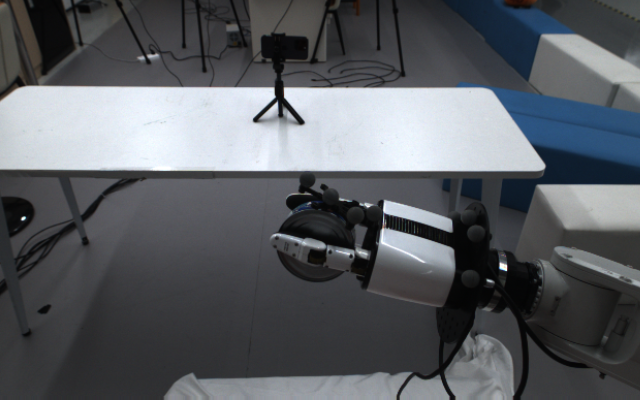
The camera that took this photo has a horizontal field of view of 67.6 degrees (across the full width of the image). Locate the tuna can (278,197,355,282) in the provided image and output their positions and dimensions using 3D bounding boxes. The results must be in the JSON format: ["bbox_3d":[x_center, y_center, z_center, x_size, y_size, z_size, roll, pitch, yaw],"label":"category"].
[{"bbox_3d":[-0.001,0.044,0.535,0.085,0.085,0.034,7,16,7],"label":"tuna can"}]
